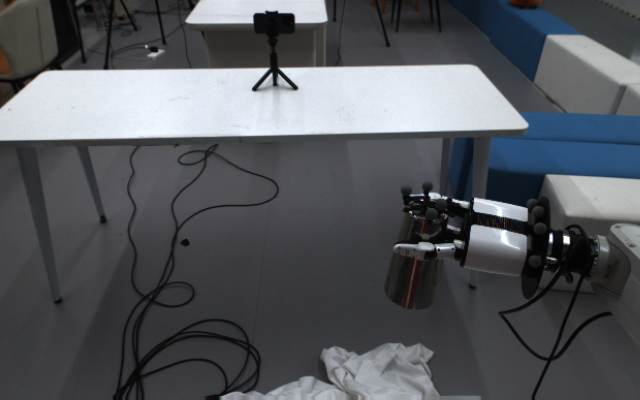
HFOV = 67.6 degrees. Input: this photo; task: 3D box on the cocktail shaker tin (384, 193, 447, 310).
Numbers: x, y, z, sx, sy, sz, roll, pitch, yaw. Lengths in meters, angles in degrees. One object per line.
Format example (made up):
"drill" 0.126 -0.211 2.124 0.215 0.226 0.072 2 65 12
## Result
"cocktail shaker tin" 0.164 0.082 0.795 0.093 0.170 0.093 2 33 -2
